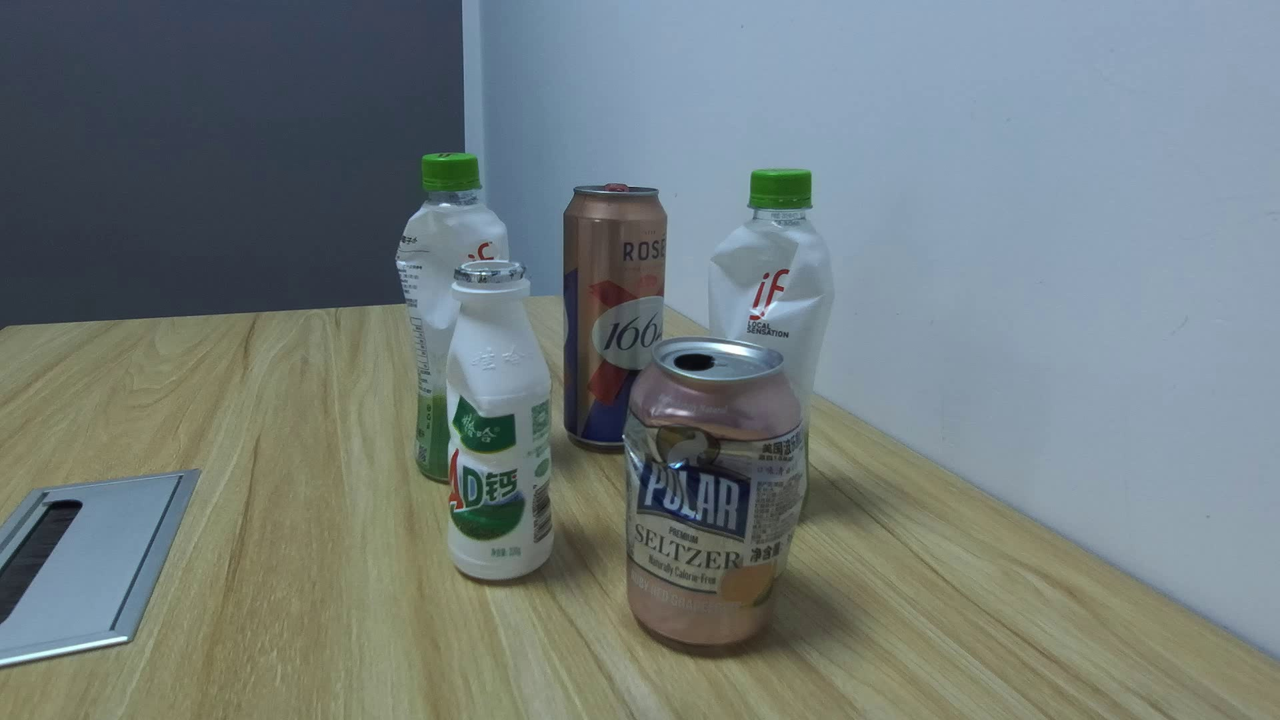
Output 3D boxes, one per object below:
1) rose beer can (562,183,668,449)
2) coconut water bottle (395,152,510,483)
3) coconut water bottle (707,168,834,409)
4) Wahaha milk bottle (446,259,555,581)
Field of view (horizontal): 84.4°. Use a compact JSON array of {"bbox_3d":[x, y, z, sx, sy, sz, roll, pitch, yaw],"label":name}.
[{"bbox_3d":[-0.017,-0.026,0.471,0.068,0.169,0.068,2,12,0],"label":"rose beer can"},{"bbox_3d":[-0.106,-0.025,0.423,0.069,0.187,0.069,2,17,0],"label":"coconut water bottle"},{"bbox_3d":[0.068,-0.011,0.386,0.067,0.187,0.067,-2,29,1],"label":"coconut water bottle"},{"bbox_3d":[-0.068,0.030,0.333,0.056,0.147,0.056,2,19,0],"label":"Wahaha milk bottle"}]
